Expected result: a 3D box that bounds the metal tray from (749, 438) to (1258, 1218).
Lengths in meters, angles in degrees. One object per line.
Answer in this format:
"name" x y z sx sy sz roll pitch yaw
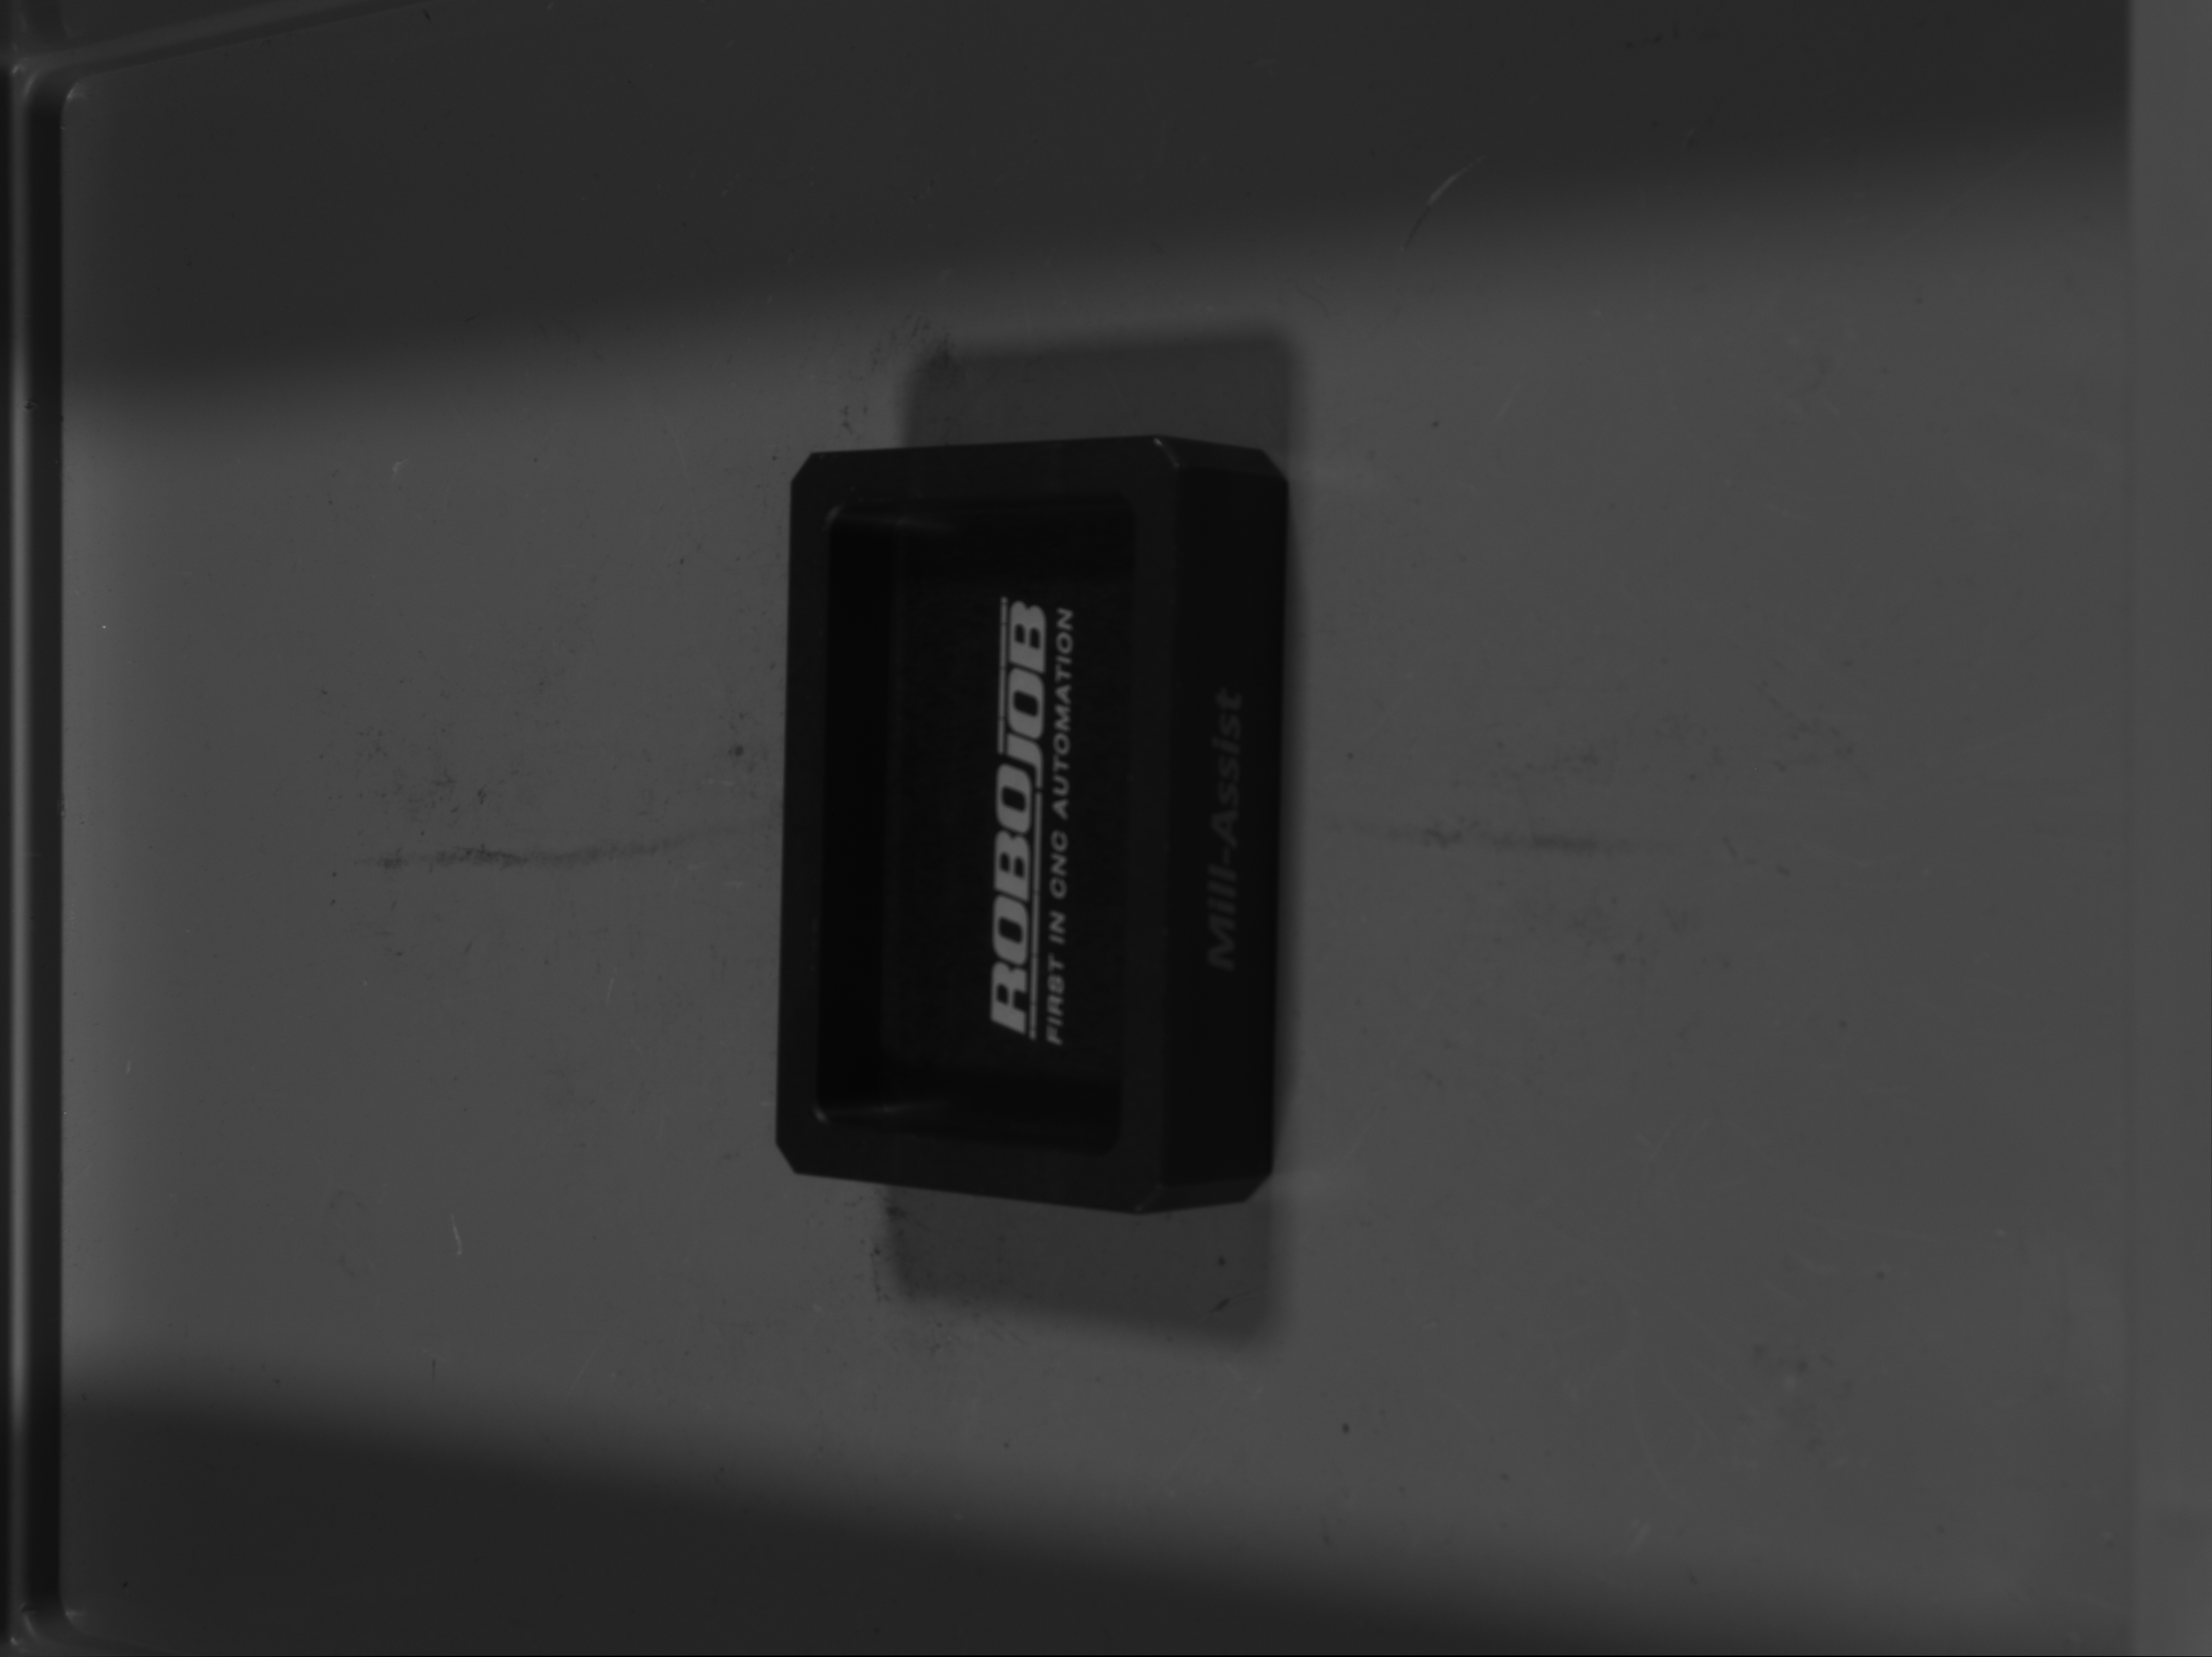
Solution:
"metal tray" -0.019 -0.001 0.645 0.090 0.030 0.130 2 91 39
